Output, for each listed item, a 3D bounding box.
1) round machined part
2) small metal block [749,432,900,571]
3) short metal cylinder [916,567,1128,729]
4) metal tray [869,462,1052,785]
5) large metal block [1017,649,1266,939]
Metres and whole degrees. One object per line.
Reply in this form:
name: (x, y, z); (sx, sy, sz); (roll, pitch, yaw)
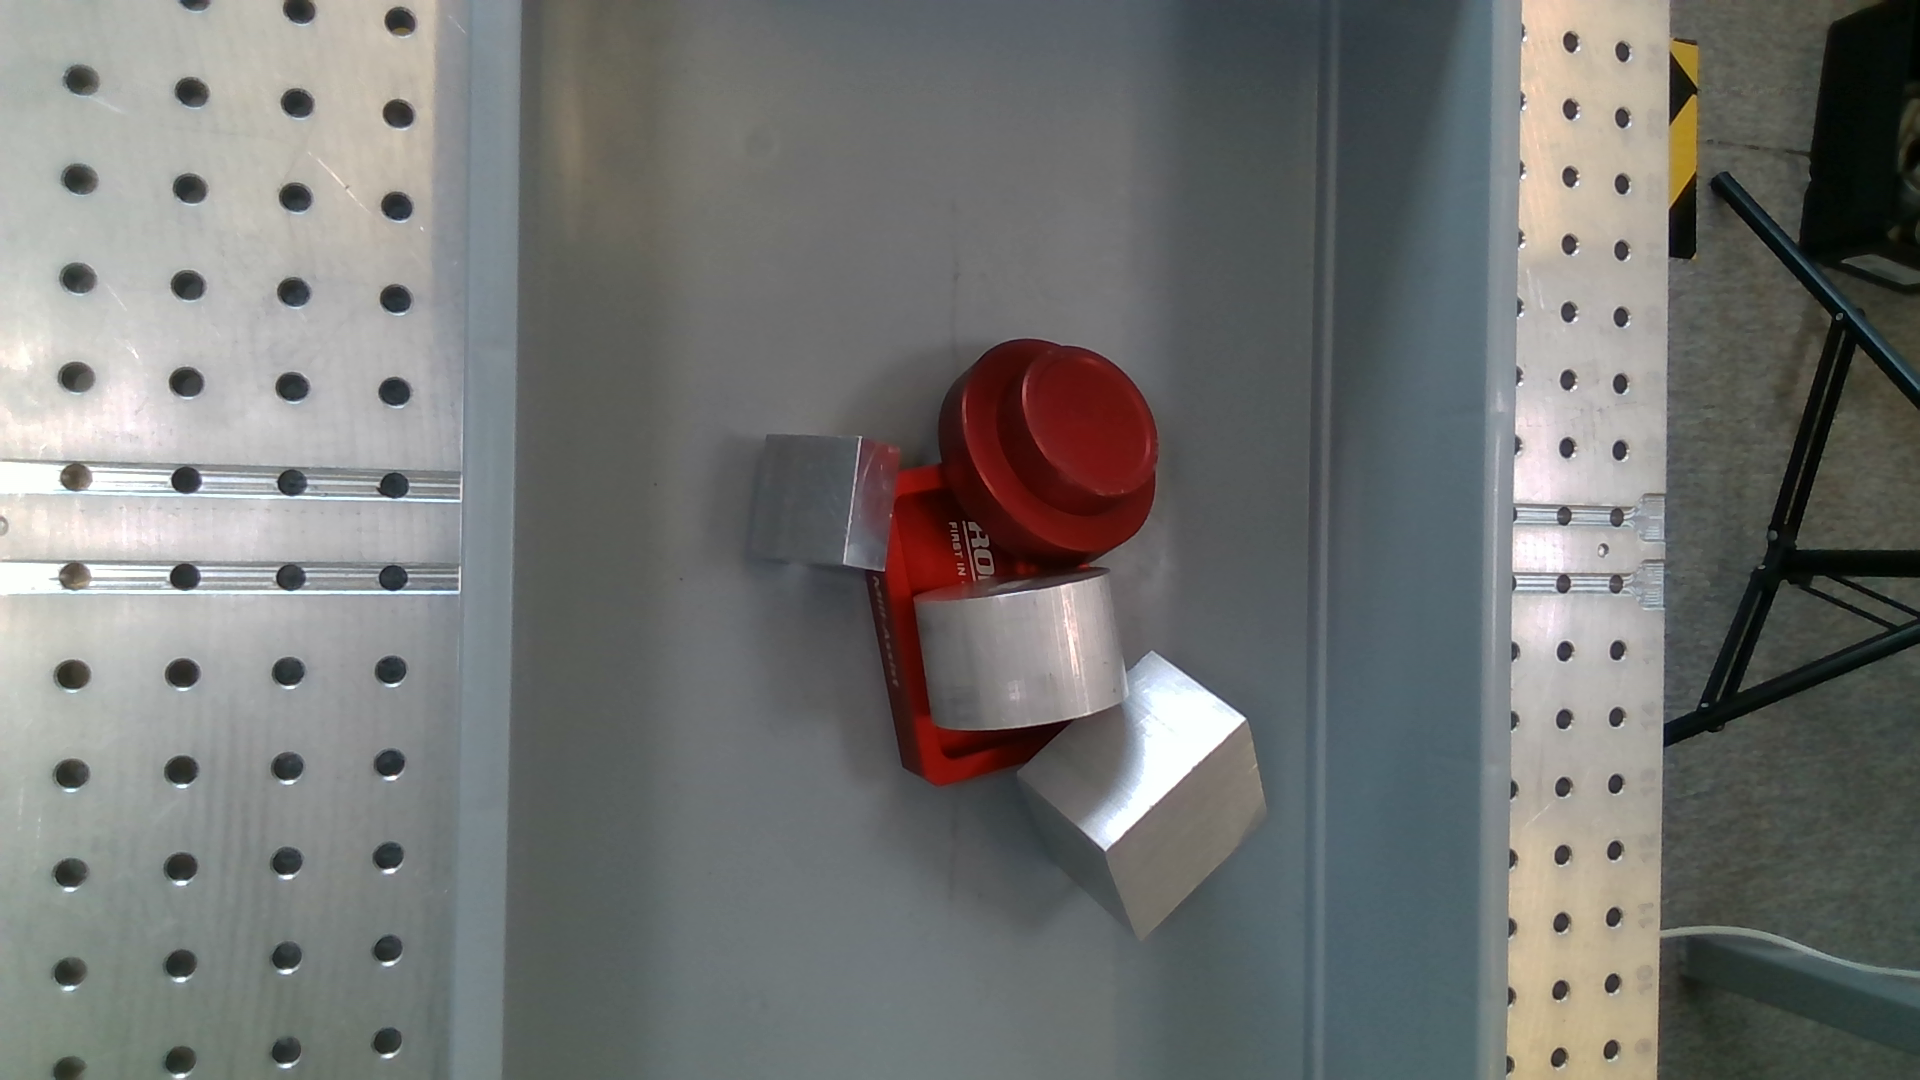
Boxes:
round machined part: (0.043, -0.042, 0.572); (0.098, 0.042, 0.098); (16, 59, -28)
small metal block: (-0.054, -0.016, 0.549); (0.025, 0.050, 0.050); (11, 84, -54)
short metal cylinder: (0.024, 0.041, 0.552); (0.080, 0.080, 0.050); (-10, 94, -20)
metal tray: (0.010, 0.029, 0.588); (0.090, 0.030, 0.130); (-12, 94, -20)
large metal block: (0.079, 0.107, 0.580); (0.080, 0.050, 0.080); (-40, 140, -15)
